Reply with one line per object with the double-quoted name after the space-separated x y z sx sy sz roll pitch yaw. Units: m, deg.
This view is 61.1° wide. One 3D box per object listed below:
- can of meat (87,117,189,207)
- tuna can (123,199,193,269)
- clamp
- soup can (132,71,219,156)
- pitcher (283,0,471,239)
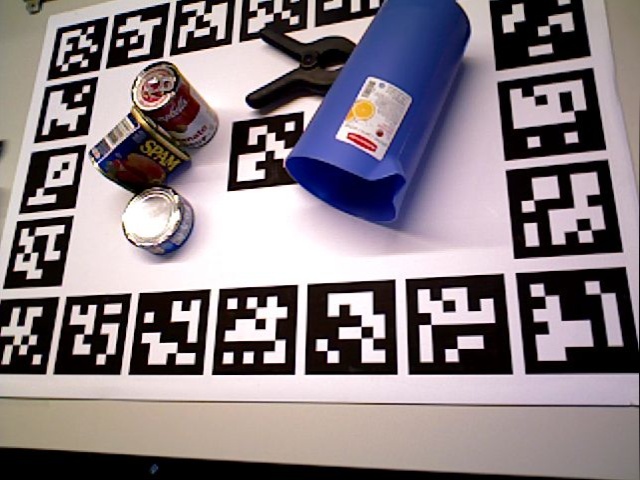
-0.233 -0.094 0.694 0.084 0.102 0.057 -39 66 6 "can of meat"
-0.207 -0.007 0.699 0.086 0.034 0.085 -5 73 17 "tuna can"
-0.021 -0.213 0.710 0.166 0.037 0.120 -1 69 15 "clamp"
-0.184 -0.161 0.704 0.068 0.102 0.067 -6 72 18 "soup can"
0.066 -0.135 0.588 0.190 0.133 0.240 12 69 44 "pitcher"
